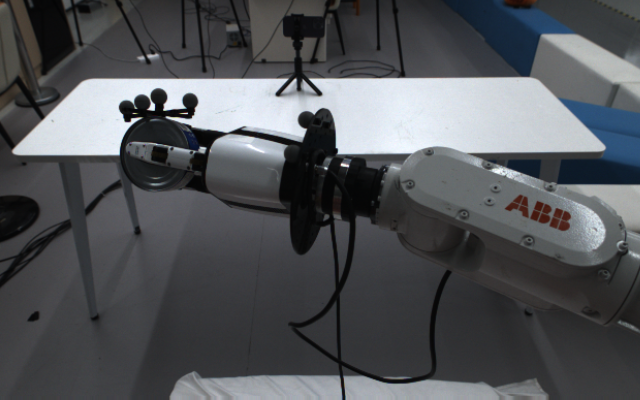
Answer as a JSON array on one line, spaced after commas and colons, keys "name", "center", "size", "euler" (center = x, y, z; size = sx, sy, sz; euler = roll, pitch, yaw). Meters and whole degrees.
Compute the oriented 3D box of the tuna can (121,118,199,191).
[{"name": "tuna can", "center": [-0.181, -0.050, 0.561], "size": [0.085, 0.085, 0.034], "euler": [10, 2, 11]}]
